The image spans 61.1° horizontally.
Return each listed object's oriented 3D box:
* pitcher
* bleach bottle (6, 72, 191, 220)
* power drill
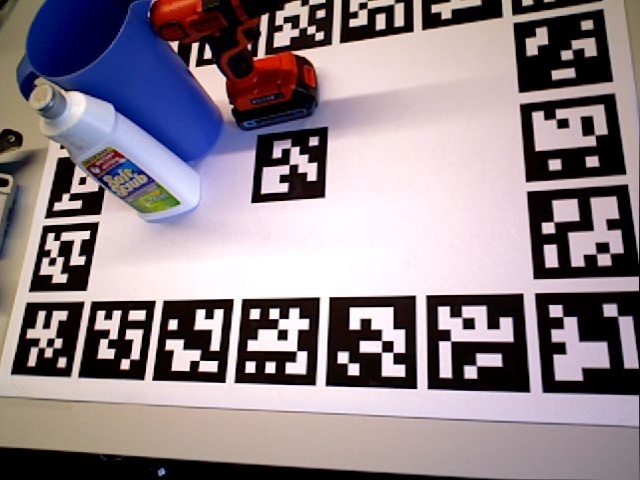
[{"bbox_3d":[-0.227,-0.192,0.653,0.189,0.243,0.132,-29,68,7],"label":"pitcher"},{"bbox_3d":[-0.246,-0.100,0.609,0.103,0.251,0.067,-11,69,14],"label":"bleach bottle"},{"bbox_3d":[-0.063,-0.216,0.616,0.185,0.188,0.057,-7,73,10],"label":"power drill"}]
